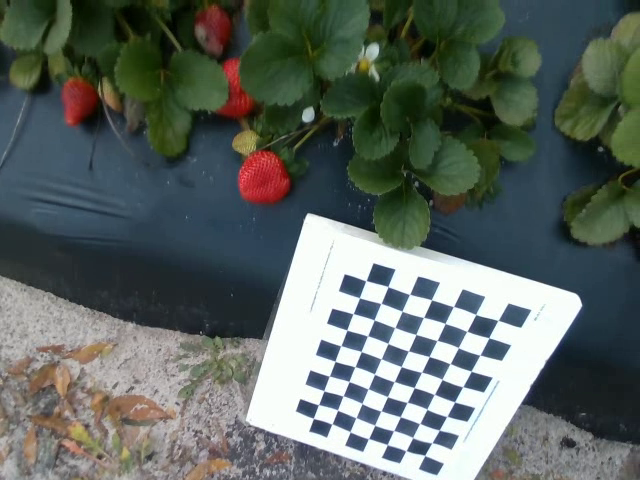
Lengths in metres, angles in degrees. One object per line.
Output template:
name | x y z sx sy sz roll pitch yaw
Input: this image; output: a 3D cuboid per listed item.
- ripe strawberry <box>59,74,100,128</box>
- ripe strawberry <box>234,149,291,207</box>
ripe strawberry | -0.244 -0.141 0.622 0.043 0.052 0.041 4 -17 14
ripe strawberry | -0.062 -0.061 0.615 0.057 0.056 0.065 -9 29 36
